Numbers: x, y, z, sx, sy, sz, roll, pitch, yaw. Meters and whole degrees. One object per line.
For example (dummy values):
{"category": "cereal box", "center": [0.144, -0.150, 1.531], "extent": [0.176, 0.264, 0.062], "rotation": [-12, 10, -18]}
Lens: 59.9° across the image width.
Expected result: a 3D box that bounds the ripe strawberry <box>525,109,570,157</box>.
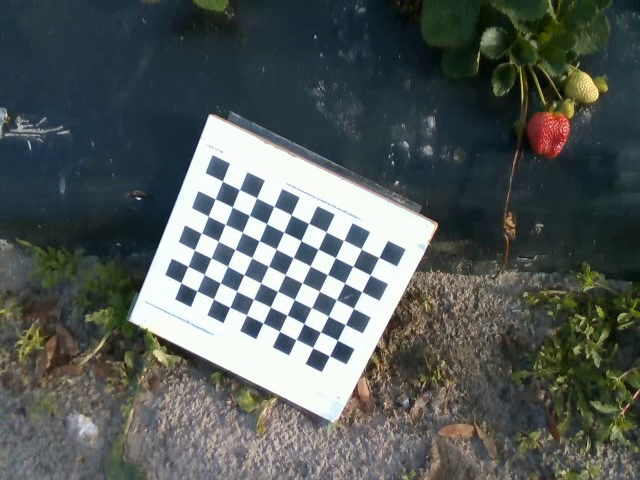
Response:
{"category": "ripe strawberry", "center": [0.251, -0.112, 0.604], "extent": [0.047, 0.050, 0.034], "rotation": [5, 6, 7]}
